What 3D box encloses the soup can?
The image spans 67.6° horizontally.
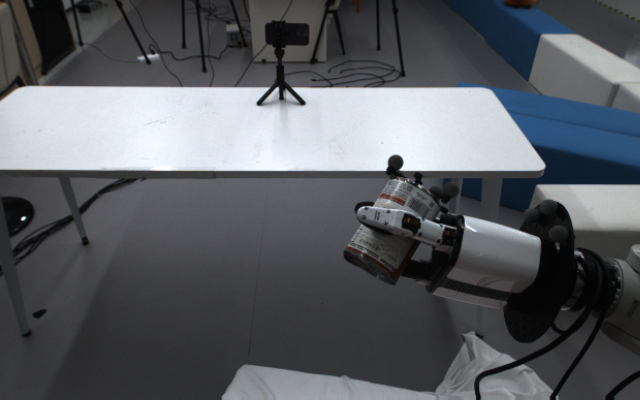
[{"bbox_3d":[0.082,0.030,0.540,0.067,0.067,0.101,26,75,30],"label":"soup can"}]
